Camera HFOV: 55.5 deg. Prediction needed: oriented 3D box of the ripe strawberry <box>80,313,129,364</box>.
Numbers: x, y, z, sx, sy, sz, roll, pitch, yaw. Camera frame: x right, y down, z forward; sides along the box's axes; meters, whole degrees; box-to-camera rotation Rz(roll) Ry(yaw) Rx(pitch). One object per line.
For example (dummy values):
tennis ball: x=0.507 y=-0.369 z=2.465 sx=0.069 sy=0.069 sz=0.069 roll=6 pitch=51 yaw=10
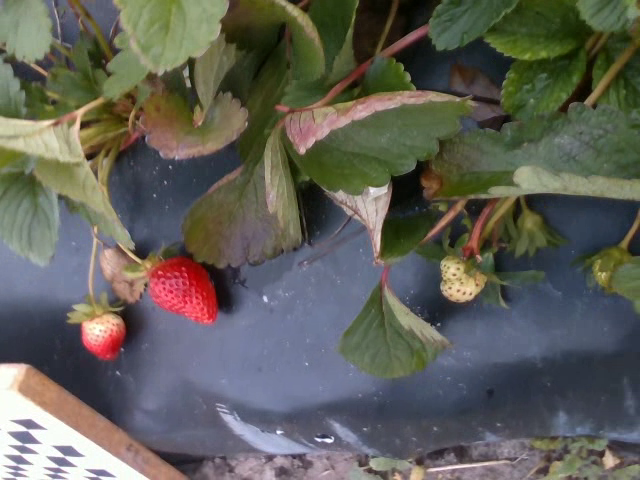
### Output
ripe strawberry: x=-0.147 y=0.066 z=0.401 sx=0.036 sy=0.041 sz=0.028 roll=2 pitch=34 yaw=28

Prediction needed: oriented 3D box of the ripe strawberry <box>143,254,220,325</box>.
ripe strawberry: x=-0.084 y=0.033 z=0.364 sx=0.042 sy=0.059 sz=0.044 roll=-49 pitch=0 yaw=-31
